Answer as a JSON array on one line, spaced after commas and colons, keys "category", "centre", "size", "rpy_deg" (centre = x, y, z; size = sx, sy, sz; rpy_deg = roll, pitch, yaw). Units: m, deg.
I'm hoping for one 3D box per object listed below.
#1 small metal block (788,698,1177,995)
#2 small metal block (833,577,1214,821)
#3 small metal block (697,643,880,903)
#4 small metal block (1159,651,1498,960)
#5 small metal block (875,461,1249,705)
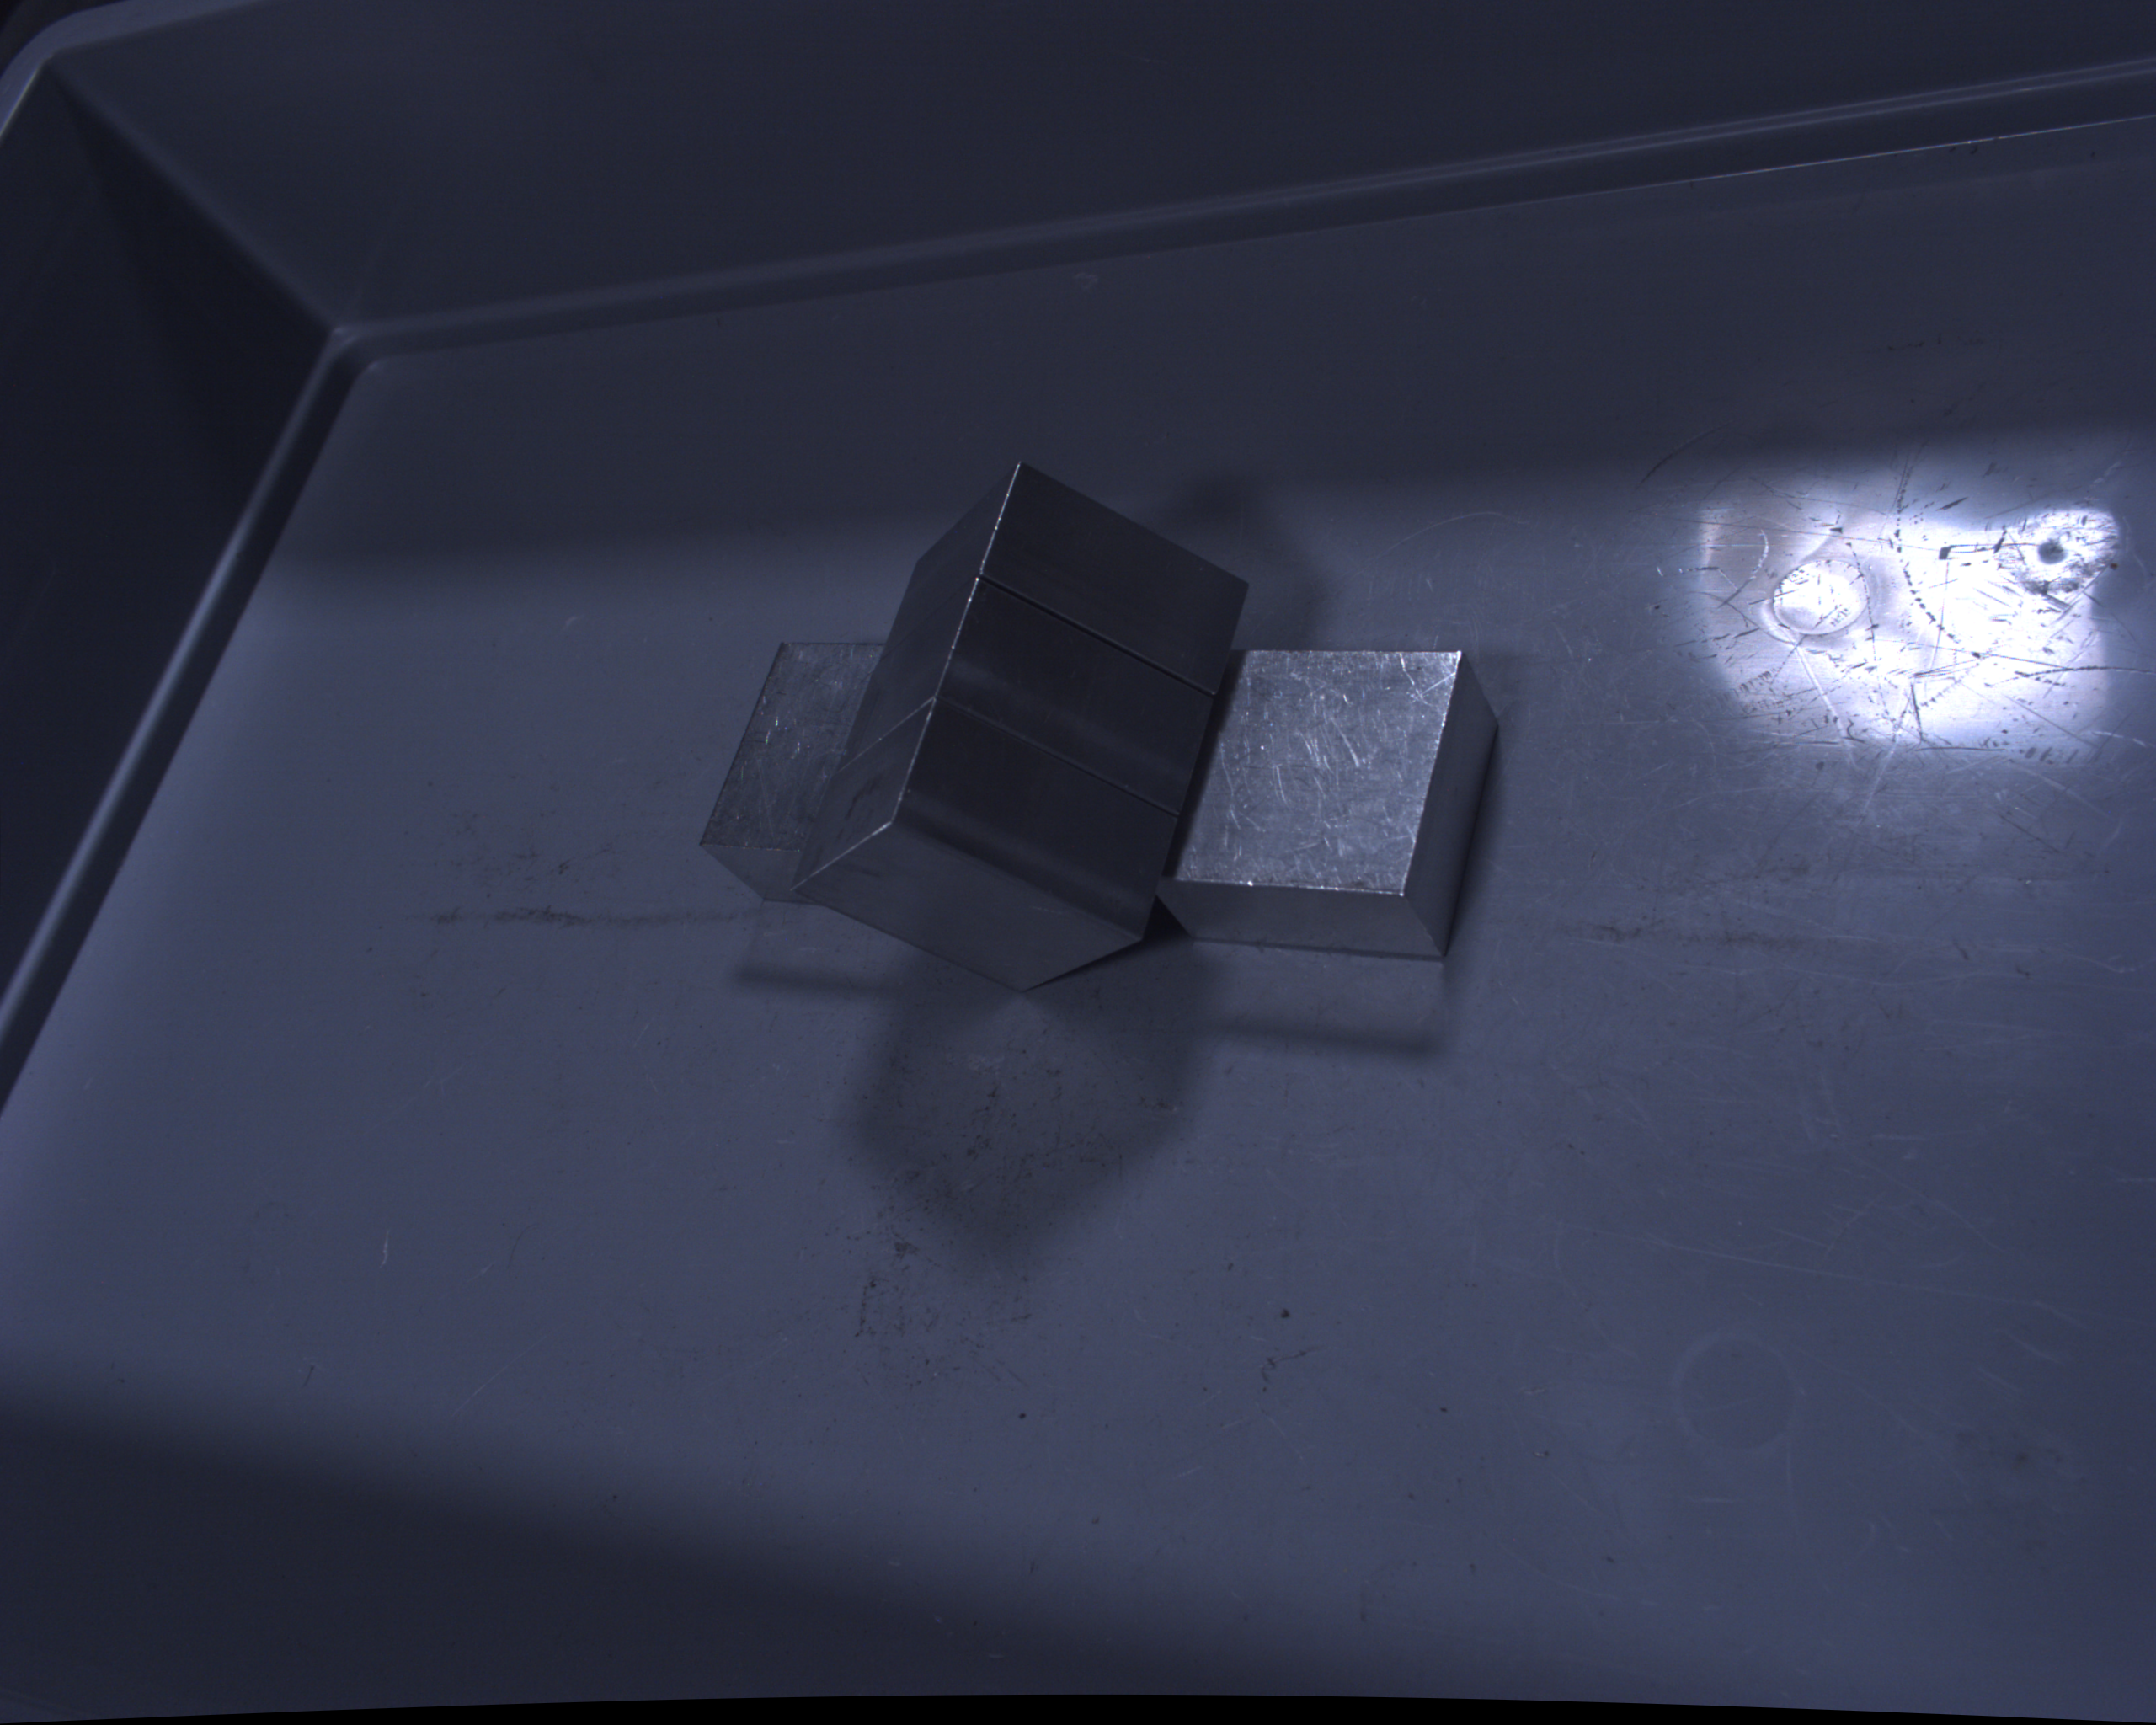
[{"category": "small metal block", "centre": [-0.018, -0.001, 0.384], "size": [0.050, 0.050, 0.025], "rpy_deg": [-29, 40, 58]}, {"category": "small metal block", "centre": [-0.011, -0.023, 0.393], "size": [0.050, 0.050, 0.025], "rpy_deg": [-29, 40, 58]}, {"category": "small metal block", "centre": [-0.044, -0.018, 0.436], "size": [0.050, 0.025, 0.050], "rpy_deg": [4, 64, 29]}, {"category": "small metal block", "centre": [0.046, -0.011, 0.386], "size": [0.050, 0.025, 0.050], "rpy_deg": [3, 63, 29]}, {"category": "small metal block", "centre": [-0.004, -0.046, 0.403], "size": [0.050, 0.050, 0.025], "rpy_deg": [-28, 41, 59]}]
